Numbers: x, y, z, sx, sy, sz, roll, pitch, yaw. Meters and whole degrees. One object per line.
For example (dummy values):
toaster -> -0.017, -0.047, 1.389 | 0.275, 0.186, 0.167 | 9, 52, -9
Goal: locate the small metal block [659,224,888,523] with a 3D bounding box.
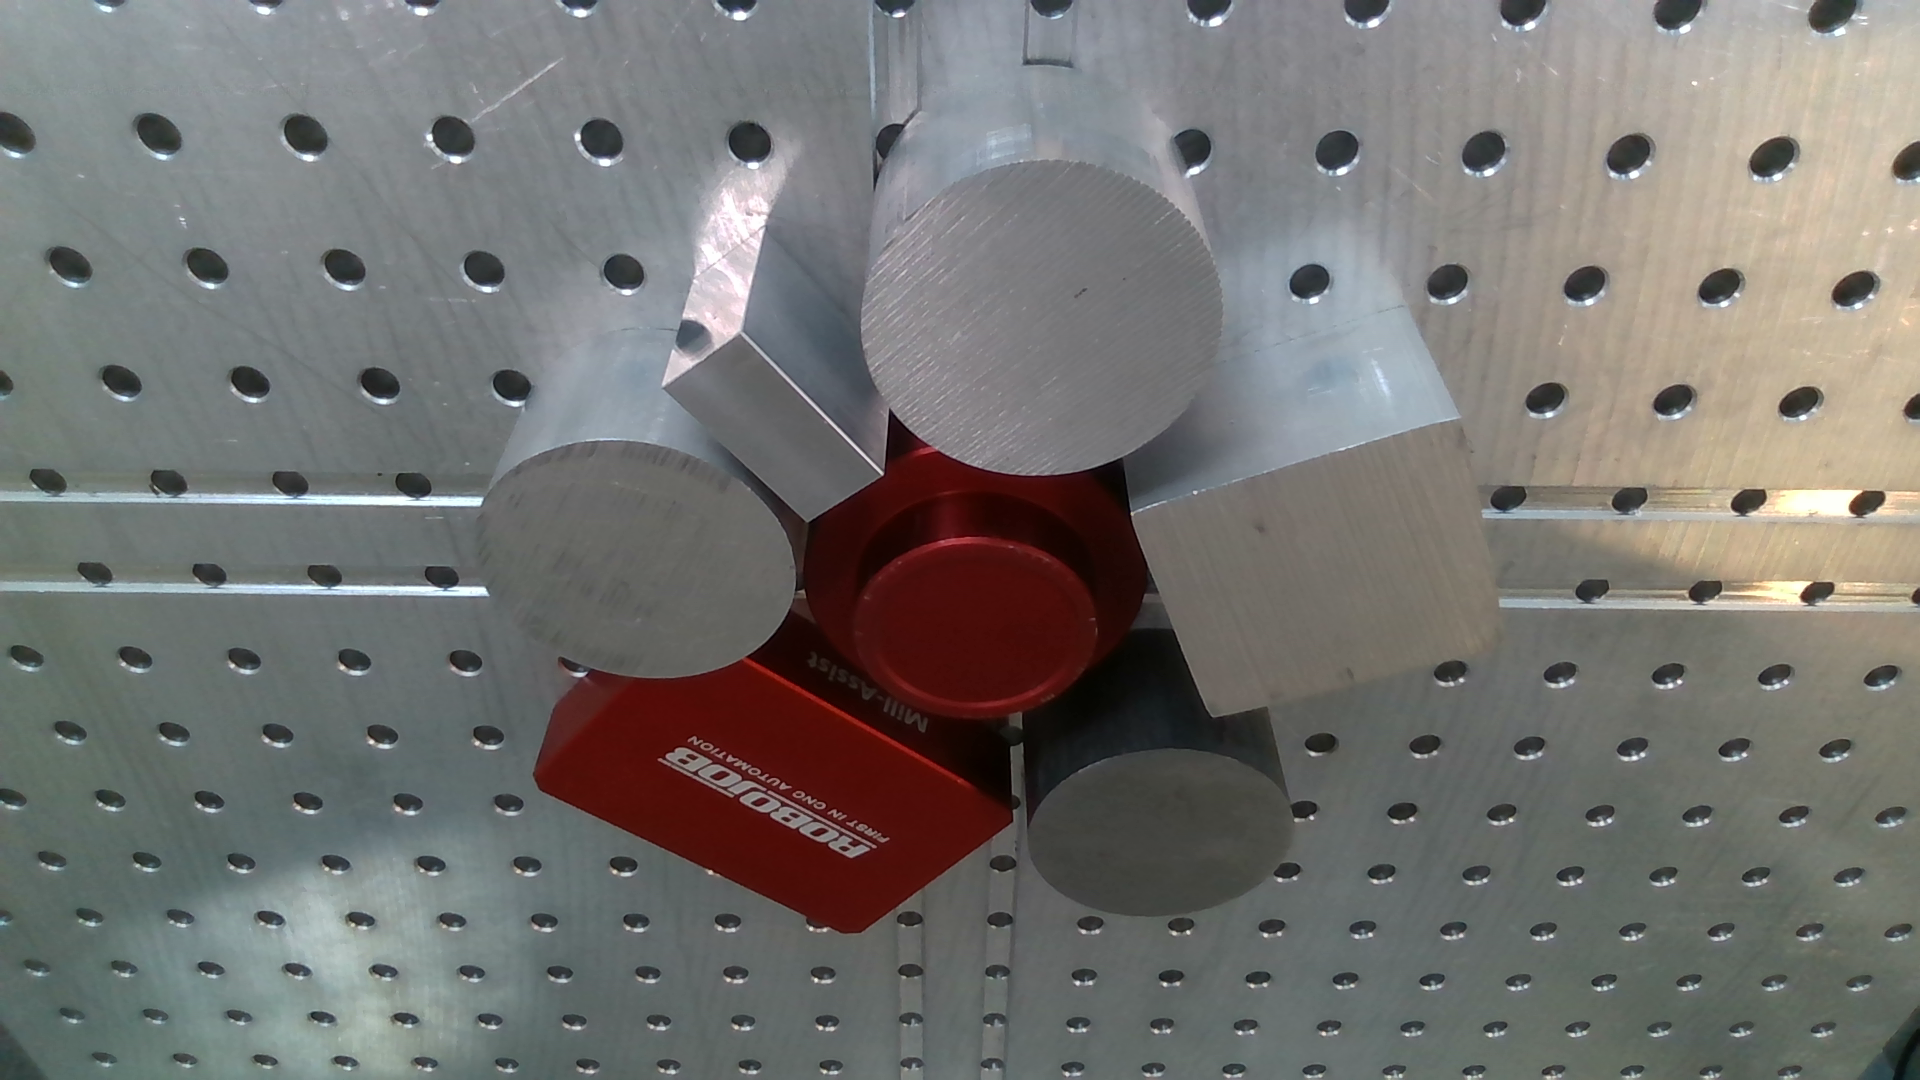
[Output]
small metal block -> -0.043, -0.041, 0.340 | 0.025, 0.050, 0.050 | -30, 124, 23

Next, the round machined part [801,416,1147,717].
round machined part -> 0.004, 0.012, 0.390 | 0.098, 0.042, 0.098 | 0, 130, 0

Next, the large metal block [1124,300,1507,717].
large metal block -> 0.094, -0.006, 0.371 | 0.080, 0.050, 0.080 | -17, 128, 14

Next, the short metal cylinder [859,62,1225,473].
short metal cylinder -> 0.018, -0.063, 0.322 | 0.080, 0.050, 0.080 | 0, 130, 0

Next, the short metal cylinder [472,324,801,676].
short metal cylinder -> -0.082, -0.010, 0.367 | 0.080, 0.050, 0.080 | 0, 130, 0

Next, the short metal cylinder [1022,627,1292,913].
short metal cylinder -> 0.060, 0.074, 0.437 | 0.080, 0.050, 0.080 | 0, 130, 0

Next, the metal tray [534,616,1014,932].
metal tray -> -0.058, 0.073, 0.449 | 0.130, 0.030, 0.090 | 33, 122, -25
